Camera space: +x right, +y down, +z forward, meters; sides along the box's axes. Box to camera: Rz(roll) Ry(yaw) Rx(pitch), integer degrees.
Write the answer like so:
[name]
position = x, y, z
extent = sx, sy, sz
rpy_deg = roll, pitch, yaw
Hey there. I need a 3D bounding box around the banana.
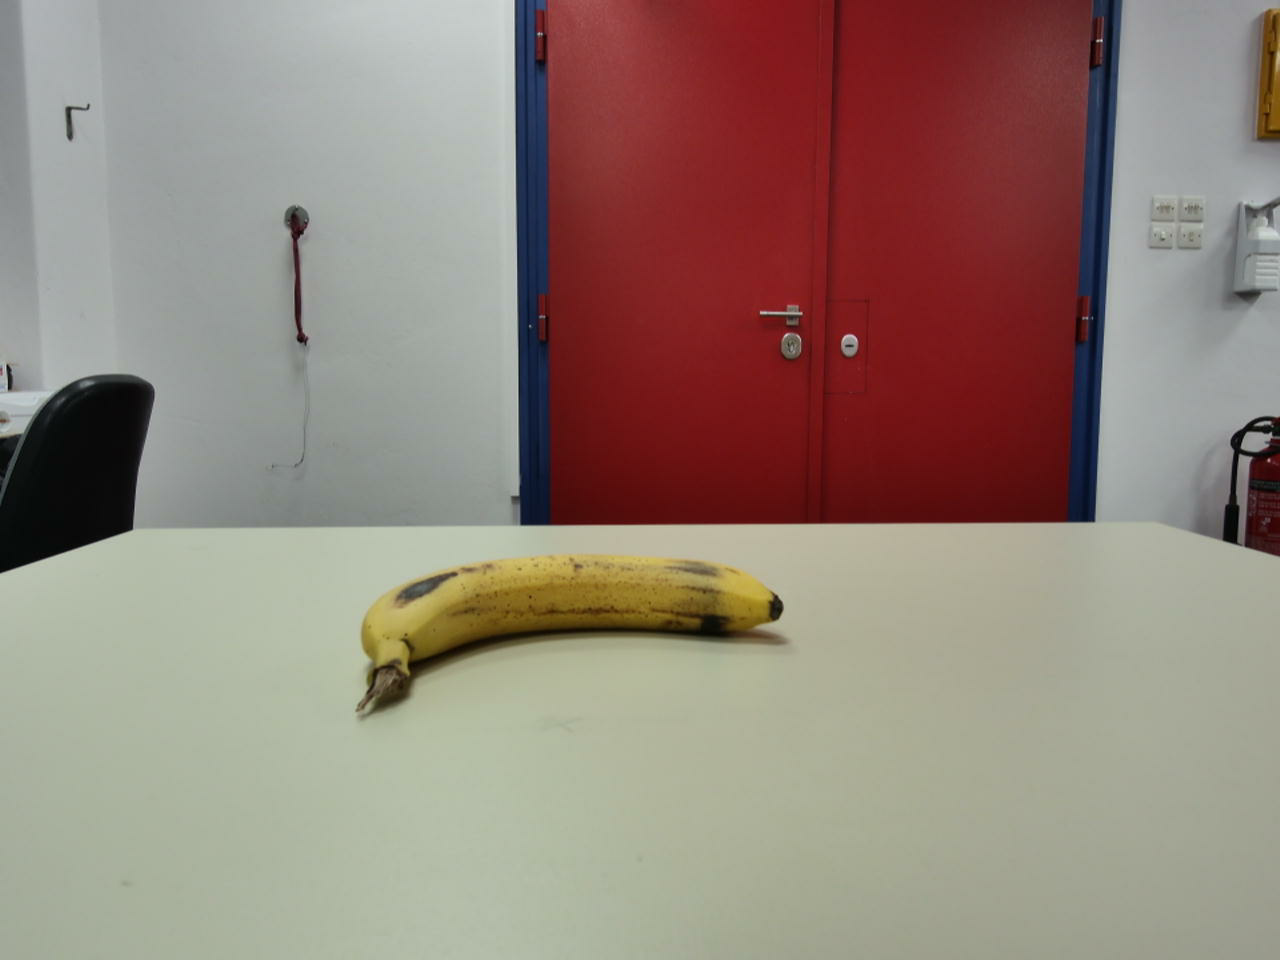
[banana]
position = -0.037, 0.057, 0.442
extent = 0.186, 0.038, 0.097
rpy_deg = -3, 5, -29
